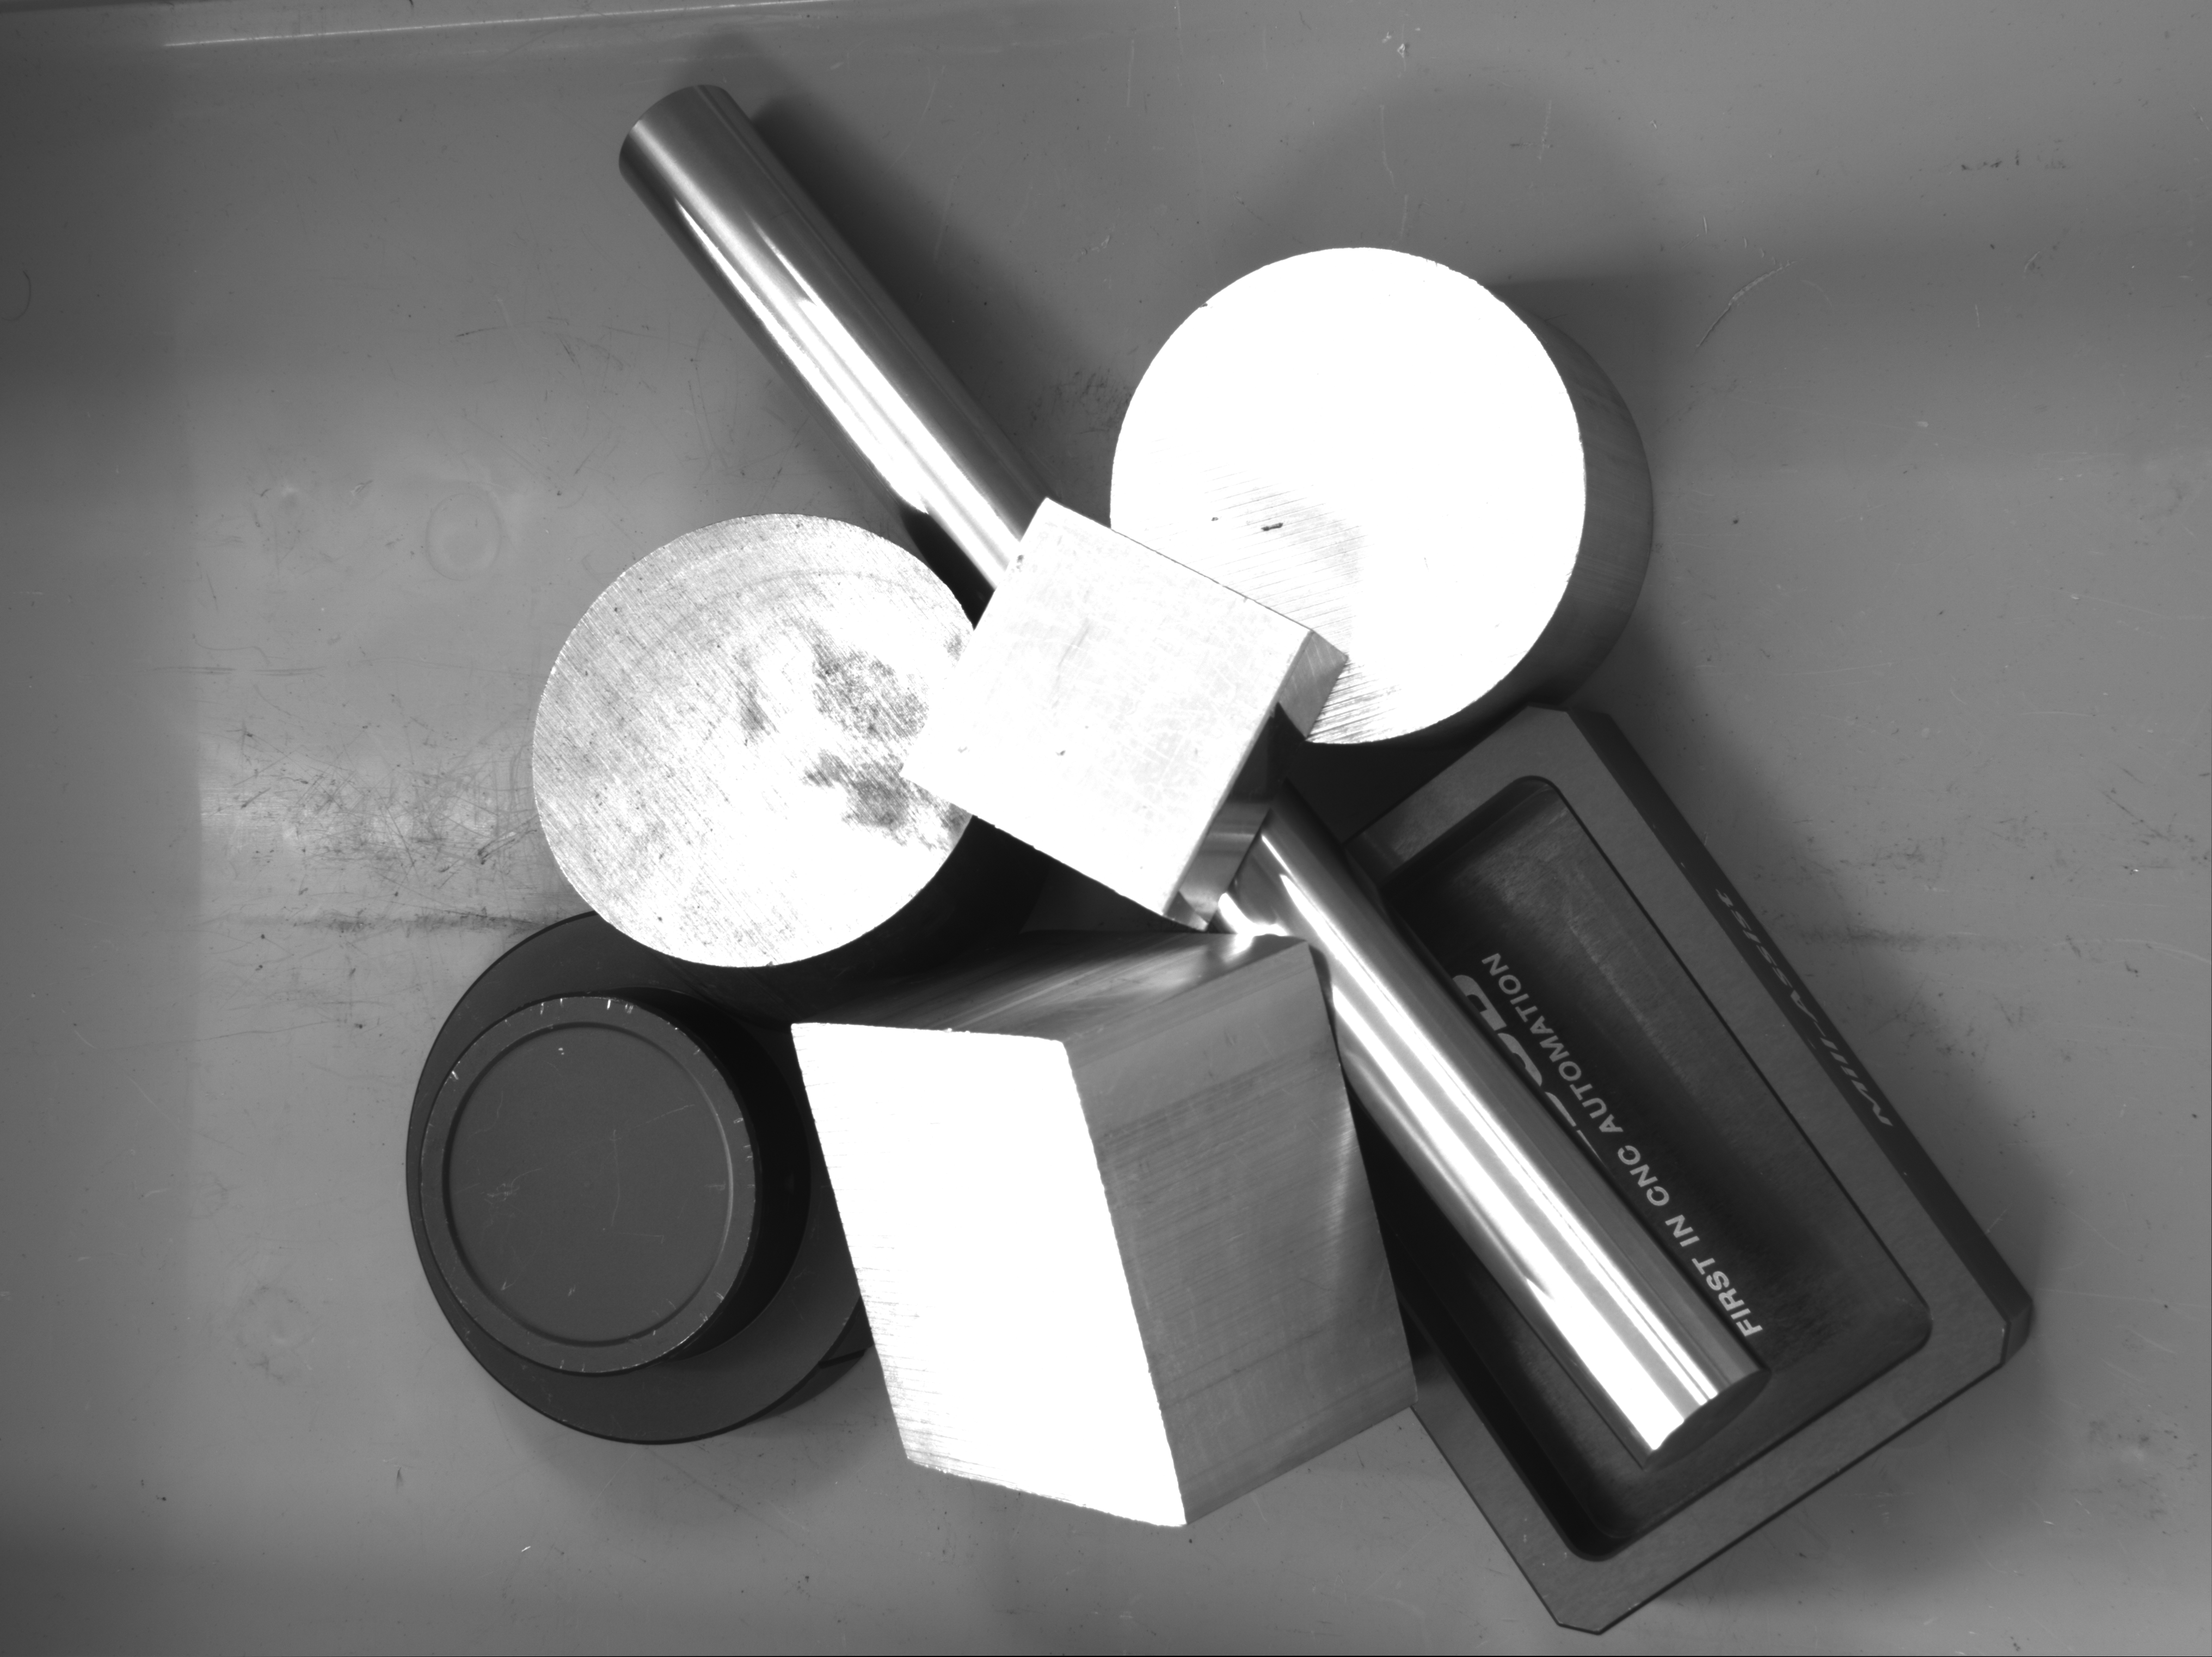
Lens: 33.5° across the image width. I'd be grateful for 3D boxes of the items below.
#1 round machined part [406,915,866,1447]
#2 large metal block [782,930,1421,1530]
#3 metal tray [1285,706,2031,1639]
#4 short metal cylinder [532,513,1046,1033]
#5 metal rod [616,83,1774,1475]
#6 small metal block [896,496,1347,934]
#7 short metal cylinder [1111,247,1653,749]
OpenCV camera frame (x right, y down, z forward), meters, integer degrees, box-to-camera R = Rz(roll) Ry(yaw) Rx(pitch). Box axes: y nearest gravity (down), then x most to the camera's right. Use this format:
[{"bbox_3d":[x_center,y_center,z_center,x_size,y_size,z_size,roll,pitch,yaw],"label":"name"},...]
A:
[{"bbox_3d":[-0.085,0.063,0.667,0.098,0.042,0.098,0,90,20],"label":"round machined part"},{"bbox_3d":[-0.002,0.063,0.605,0.080,0.050,0.080,-1,106,53],"label":"large metal block"},{"bbox_3d":[0.080,0.056,0.613,0.090,0.030,0.130,-38,78,16],"label":"metal tray"},{"bbox_3d":[-0.053,-0.008,0.640,0.080,0.050,0.080,-3,73,11],"label":"short metal cylinder"},{"bbox_3d":[0.006,-0.018,0.617,0.025,0.025,0.299,-44,67,15],"label":"metal rod"},{"bbox_3d":[0.003,-0.018,0.588,0.050,0.025,0.050,28,91,18],"label":"small metal block"},{"bbox_3d":[0.047,-0.054,0.616,0.080,0.050,0.080,0,90,20],"label":"short metal cylinder"}]
